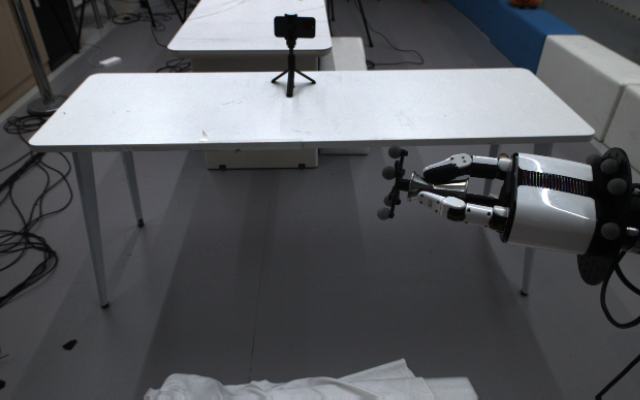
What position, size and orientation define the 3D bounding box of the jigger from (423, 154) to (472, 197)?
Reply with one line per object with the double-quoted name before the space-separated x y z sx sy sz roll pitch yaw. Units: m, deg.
"jigger" 0.152 -0.015 0.603 0.071 0.043 0.043 11 36 16
